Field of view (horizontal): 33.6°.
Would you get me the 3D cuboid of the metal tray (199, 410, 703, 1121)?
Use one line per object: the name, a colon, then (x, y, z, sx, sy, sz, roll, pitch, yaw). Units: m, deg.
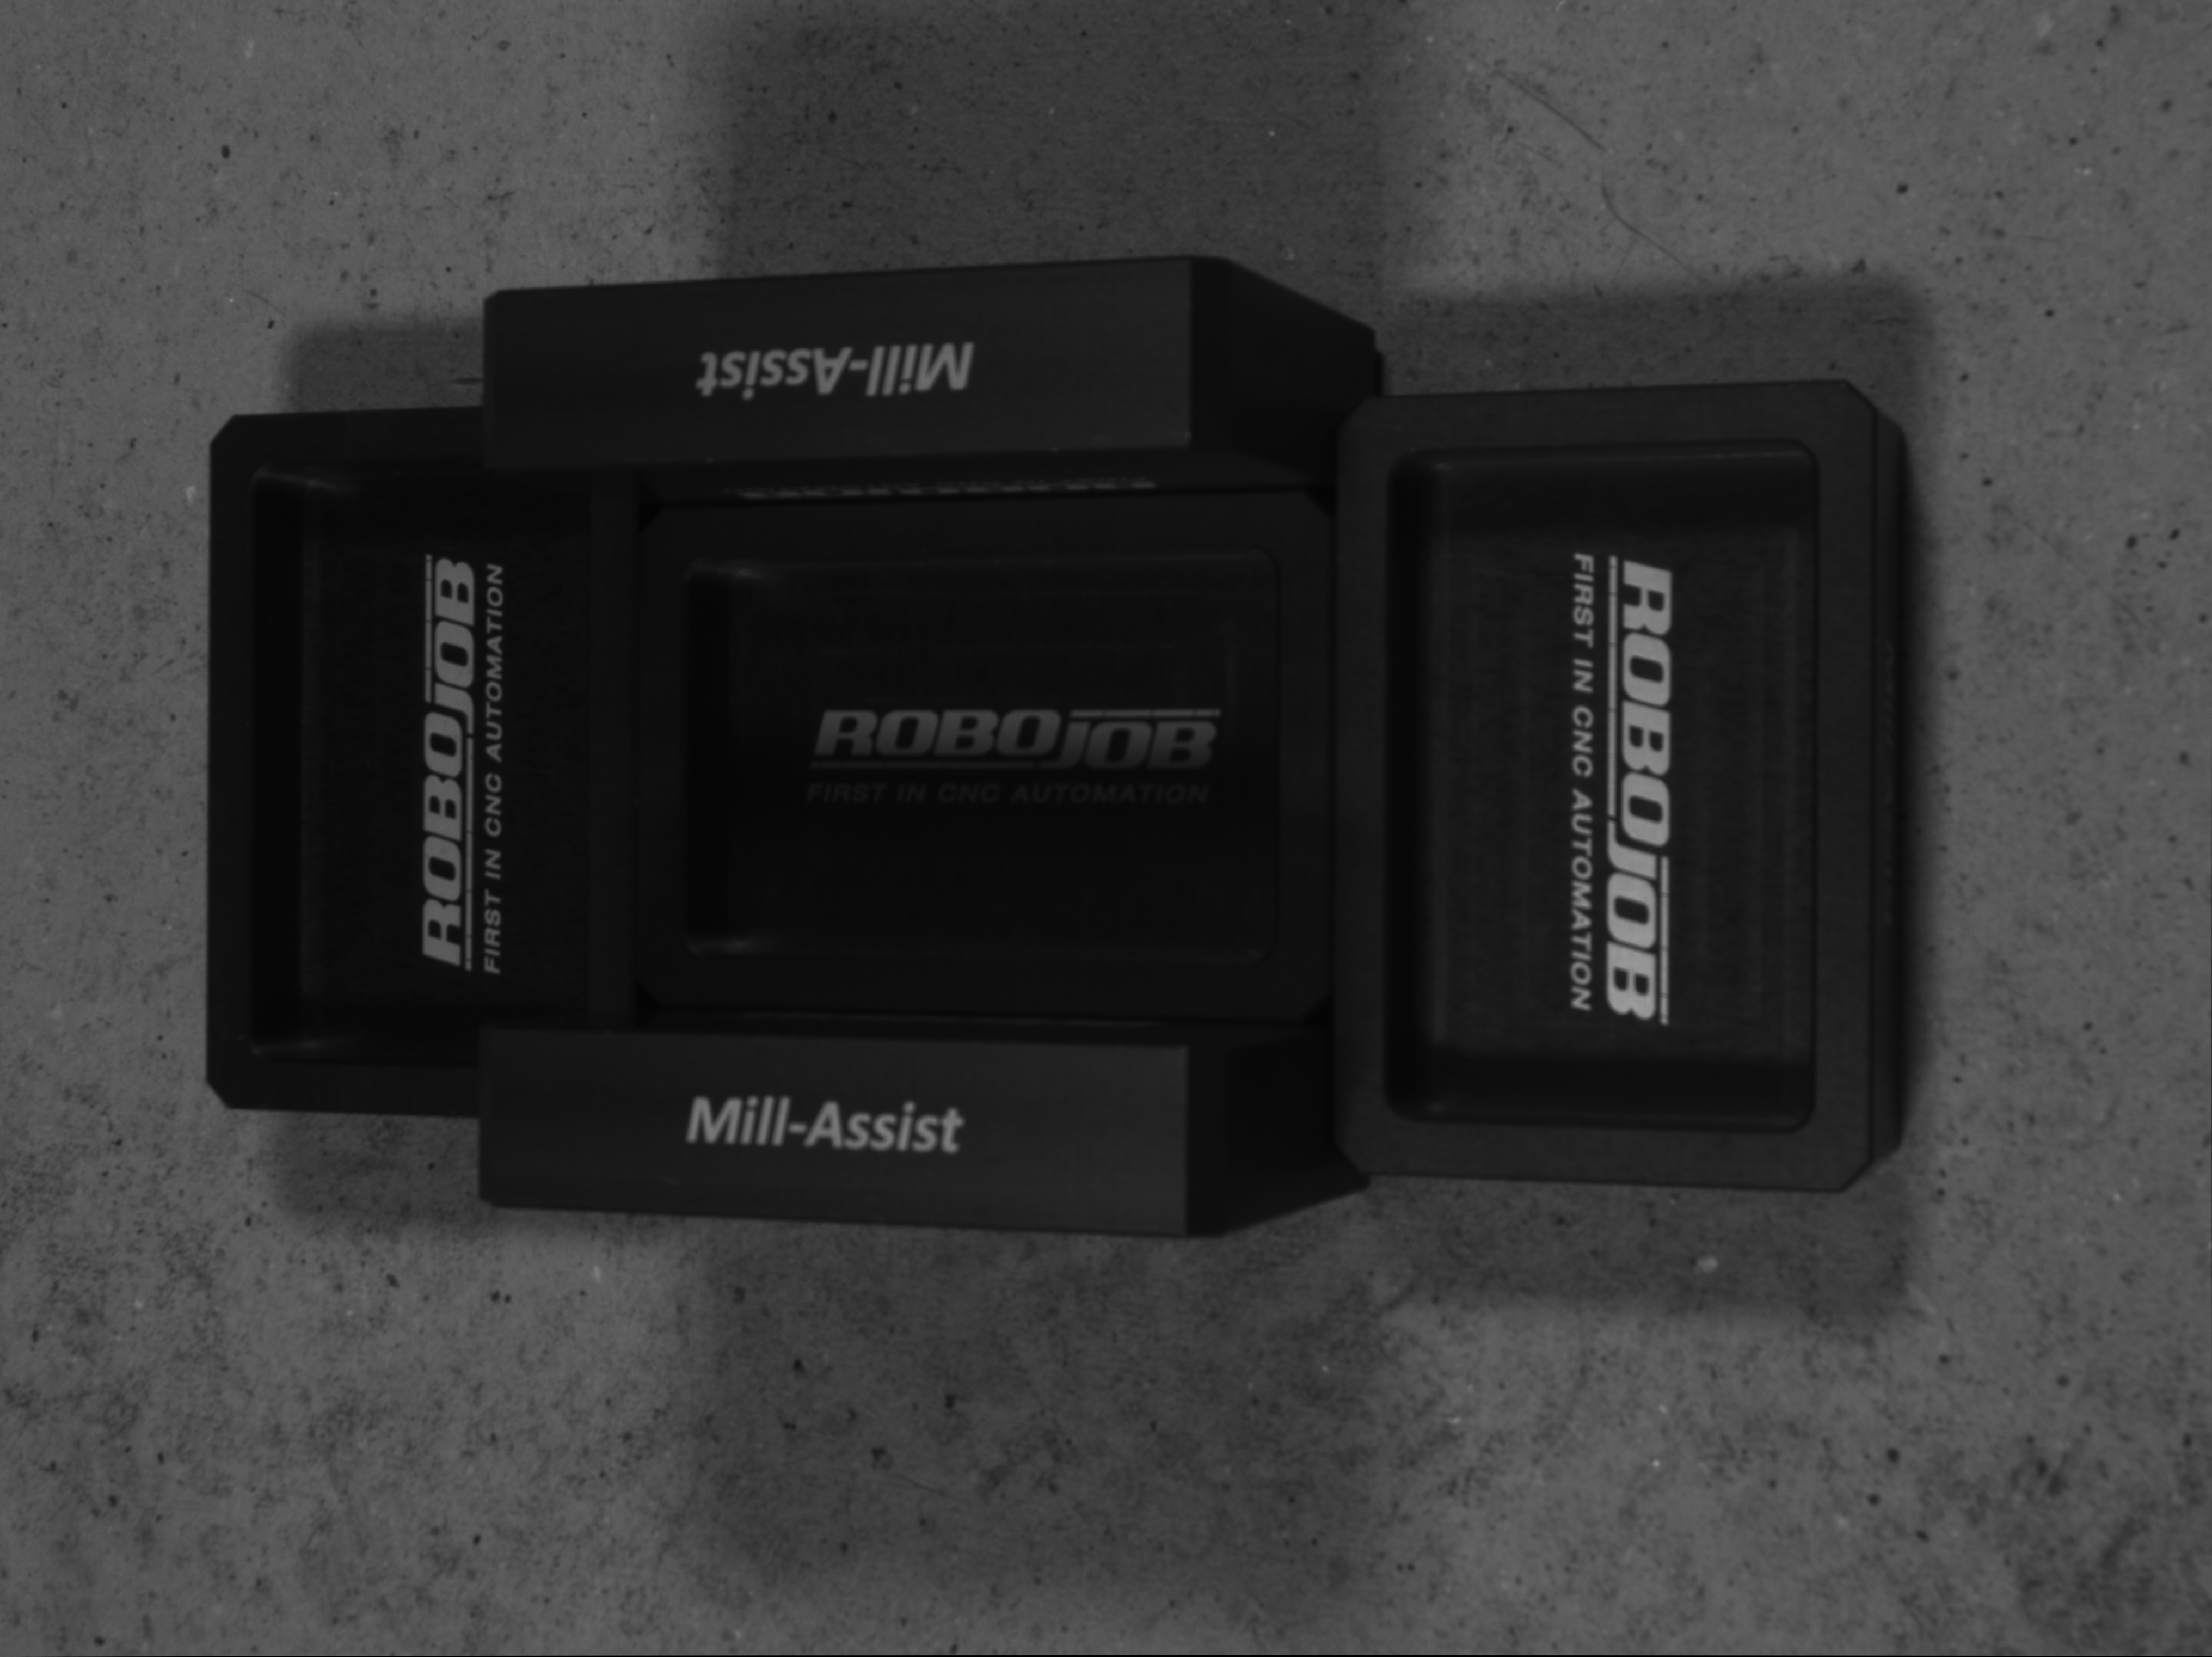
metal tray: (-0.123, -0.012, 0.685, 0.090, 0.030, 0.130, 1, 90, 20)

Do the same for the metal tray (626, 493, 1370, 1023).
metal tray: (-0.020, -0.012, 0.649, 0.130, 0.030, 0.090, 1, 90, 20)

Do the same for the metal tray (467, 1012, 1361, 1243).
metal tray: (-0.030, 0.048, 0.619, 0.130, 0.090, 0.030, 0, 90, 20)

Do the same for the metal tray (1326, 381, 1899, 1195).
metal tray: (0.084, -0.007, 0.612, 0.090, 0.030, 0.130, 1, 90, 20)

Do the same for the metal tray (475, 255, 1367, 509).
metal tray: (-0.029, -0.073, 0.621, 0.130, 0.090, 0.030, 0, 90, 20)
